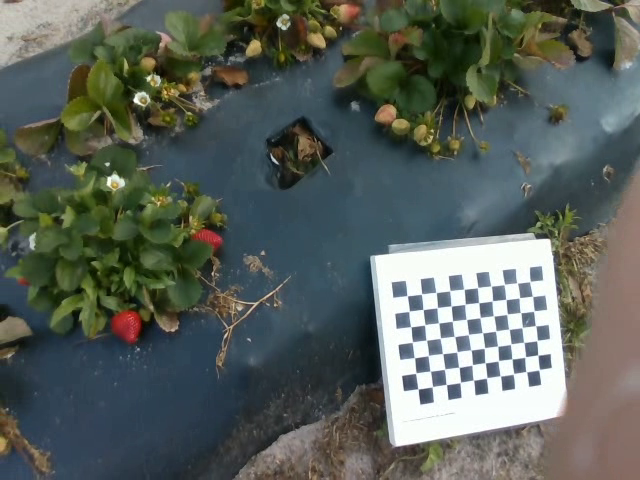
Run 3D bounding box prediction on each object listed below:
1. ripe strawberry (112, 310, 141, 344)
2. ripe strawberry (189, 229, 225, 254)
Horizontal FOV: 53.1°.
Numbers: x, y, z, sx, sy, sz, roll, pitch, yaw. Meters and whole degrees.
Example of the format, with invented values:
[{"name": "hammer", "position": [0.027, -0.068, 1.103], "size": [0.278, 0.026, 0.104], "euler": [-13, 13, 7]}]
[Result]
[{"name": "ripe strawberry", "position": [-0.259, 0.119, 0.854], "size": [0.043, 0.051, 0.043], "euler": [-22, -26, -16]}, {"name": "ripe strawberry", "position": [-0.161, 0.002, 0.910], "size": [0.046, 0.043, 0.046], "euler": [-9, -4, 14]}]
